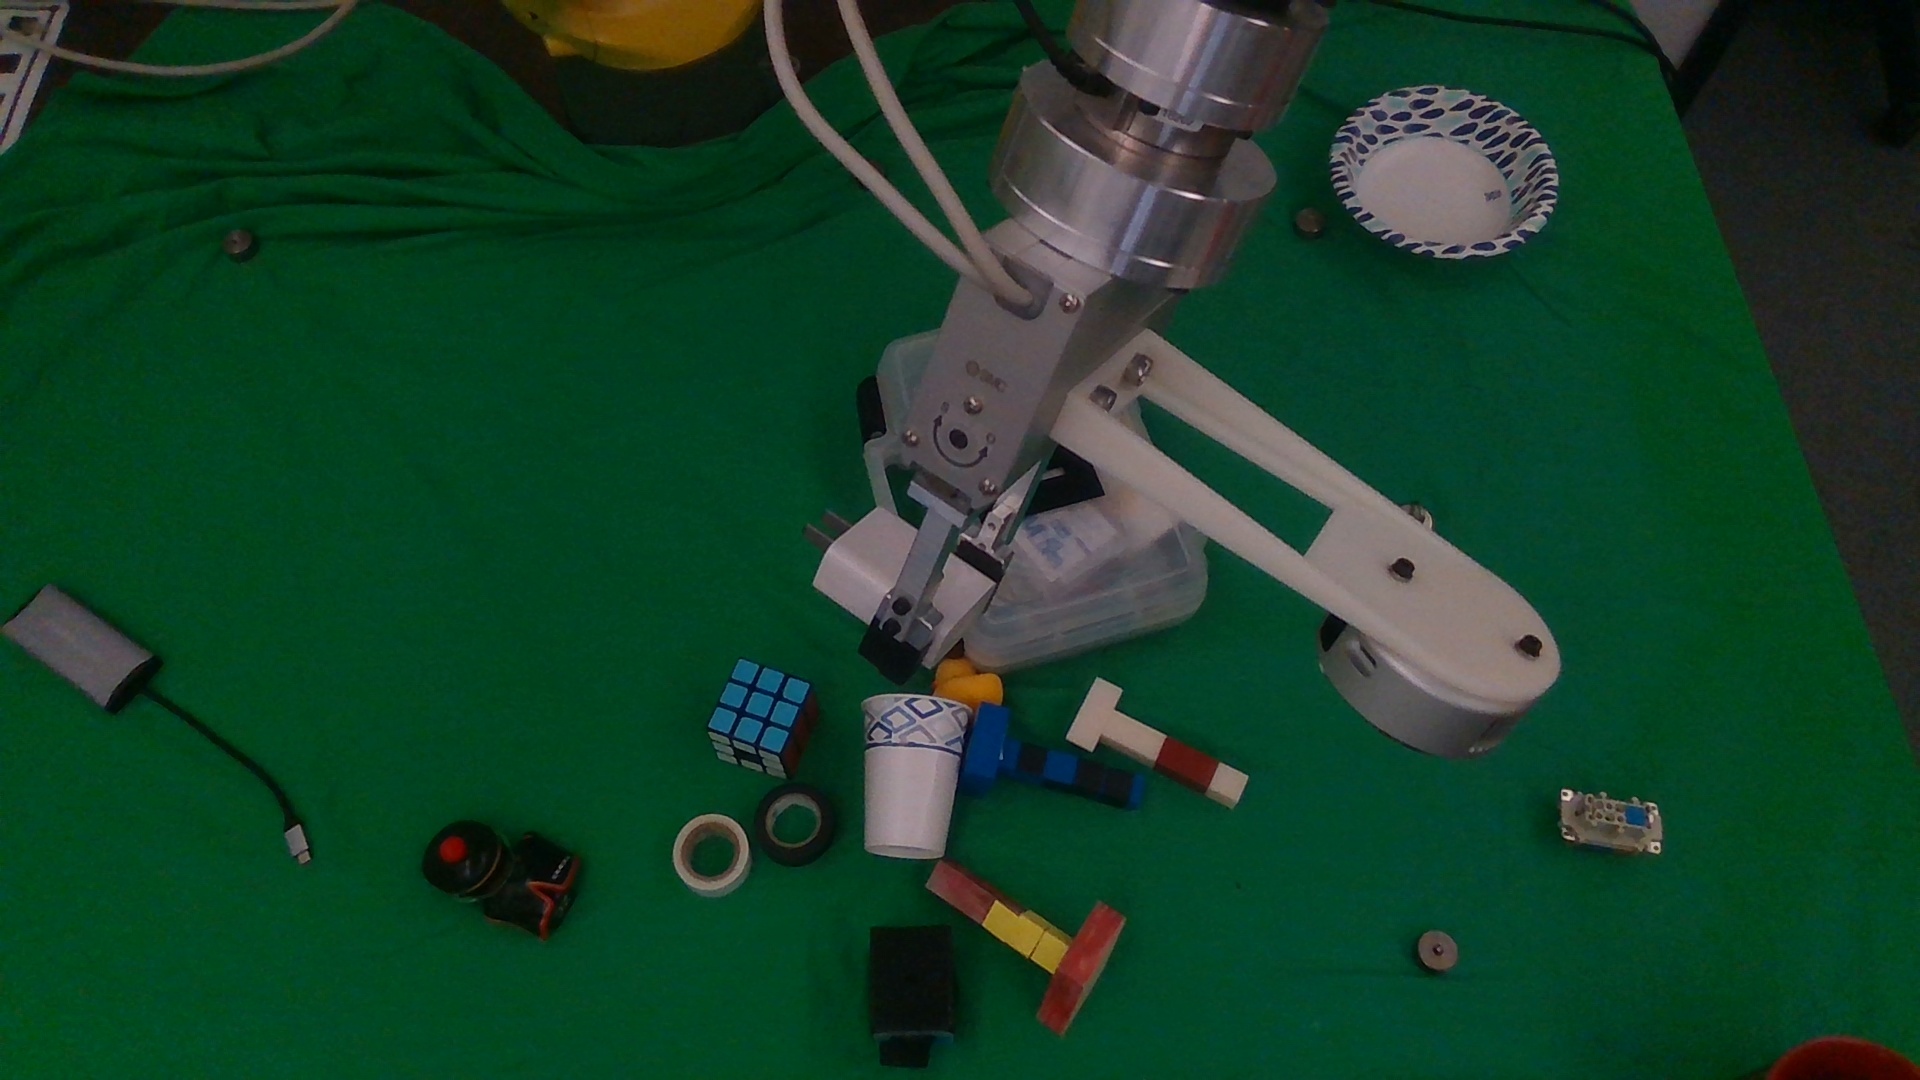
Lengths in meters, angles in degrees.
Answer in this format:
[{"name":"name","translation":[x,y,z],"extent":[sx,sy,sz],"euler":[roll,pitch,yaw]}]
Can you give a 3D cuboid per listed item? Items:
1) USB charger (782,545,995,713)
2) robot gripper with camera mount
[{"name":"USB charger","translation":[-0.028,0.026,0.491],"extent":[0.076,0.029,0.044],"euler":[30,36,11]},{"name":"robot gripper with camera mount","translation":[0.085,0.019,0.440],"extent":[0.193,0.159,0.118],"euler":[30,35,12]}]
